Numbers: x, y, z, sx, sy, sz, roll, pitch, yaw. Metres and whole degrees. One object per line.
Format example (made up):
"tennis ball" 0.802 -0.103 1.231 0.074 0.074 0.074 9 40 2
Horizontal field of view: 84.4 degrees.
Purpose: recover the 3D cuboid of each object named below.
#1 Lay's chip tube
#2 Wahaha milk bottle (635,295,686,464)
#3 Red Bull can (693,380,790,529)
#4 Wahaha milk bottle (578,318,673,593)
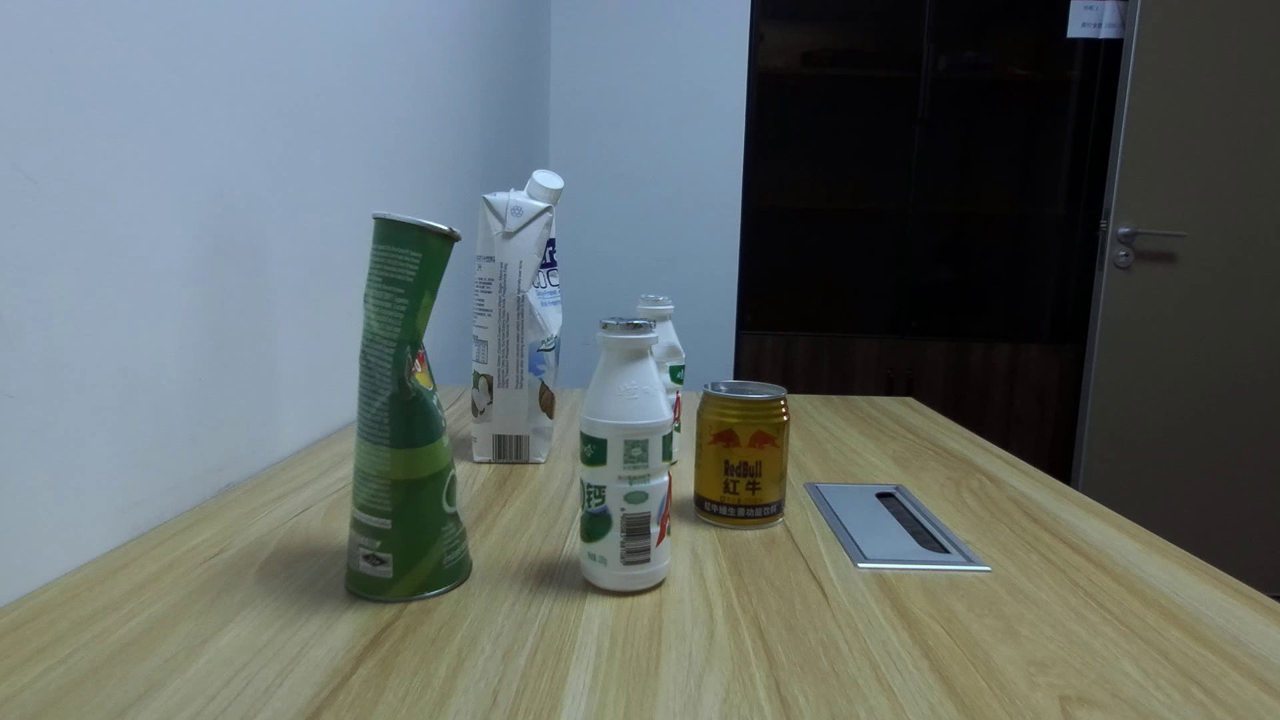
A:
"Lay's chip tube" -0.128 0.024 0.388 0.077 0.201 0.069 8 10 29
"Wahaha milk bottle" 0.014 0.017 0.625 0.055 0.149 0.055 3 4 0
"Red Bull can" 0.073 0.066 0.507 0.067 0.093 0.067 2 7 0
"Wahaha milk bottle" -0.007 0.052 0.396 0.053 0.147 0.053 1 8 0
